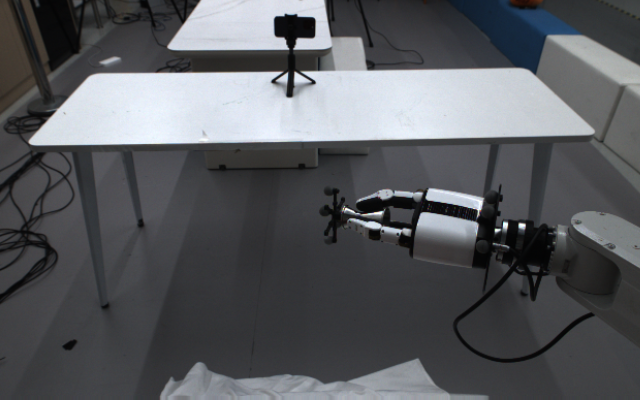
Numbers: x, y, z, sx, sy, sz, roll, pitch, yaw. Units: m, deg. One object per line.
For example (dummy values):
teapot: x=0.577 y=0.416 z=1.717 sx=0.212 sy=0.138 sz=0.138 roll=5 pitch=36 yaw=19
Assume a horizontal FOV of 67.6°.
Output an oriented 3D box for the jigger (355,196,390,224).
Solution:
jigger: x=0.077 y=0.026 z=0.753 sx=0.071 sy=0.043 sz=0.043 roll=5 pitch=34 yaw=22
